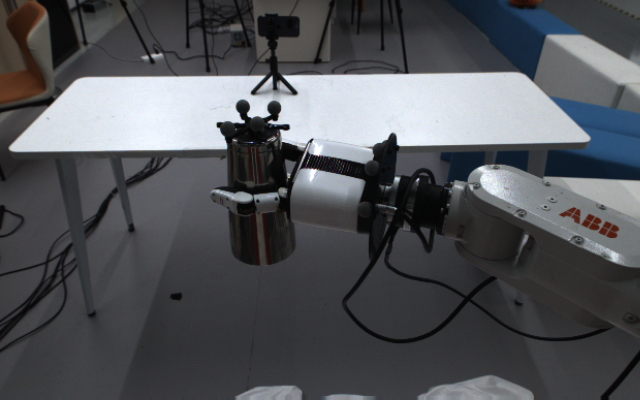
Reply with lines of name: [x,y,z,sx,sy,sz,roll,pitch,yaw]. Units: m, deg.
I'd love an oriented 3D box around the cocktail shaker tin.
cocktail shaker tin: [-0.078,-0.011,0.631,0.093,0.170,0.093,0,33,0]
